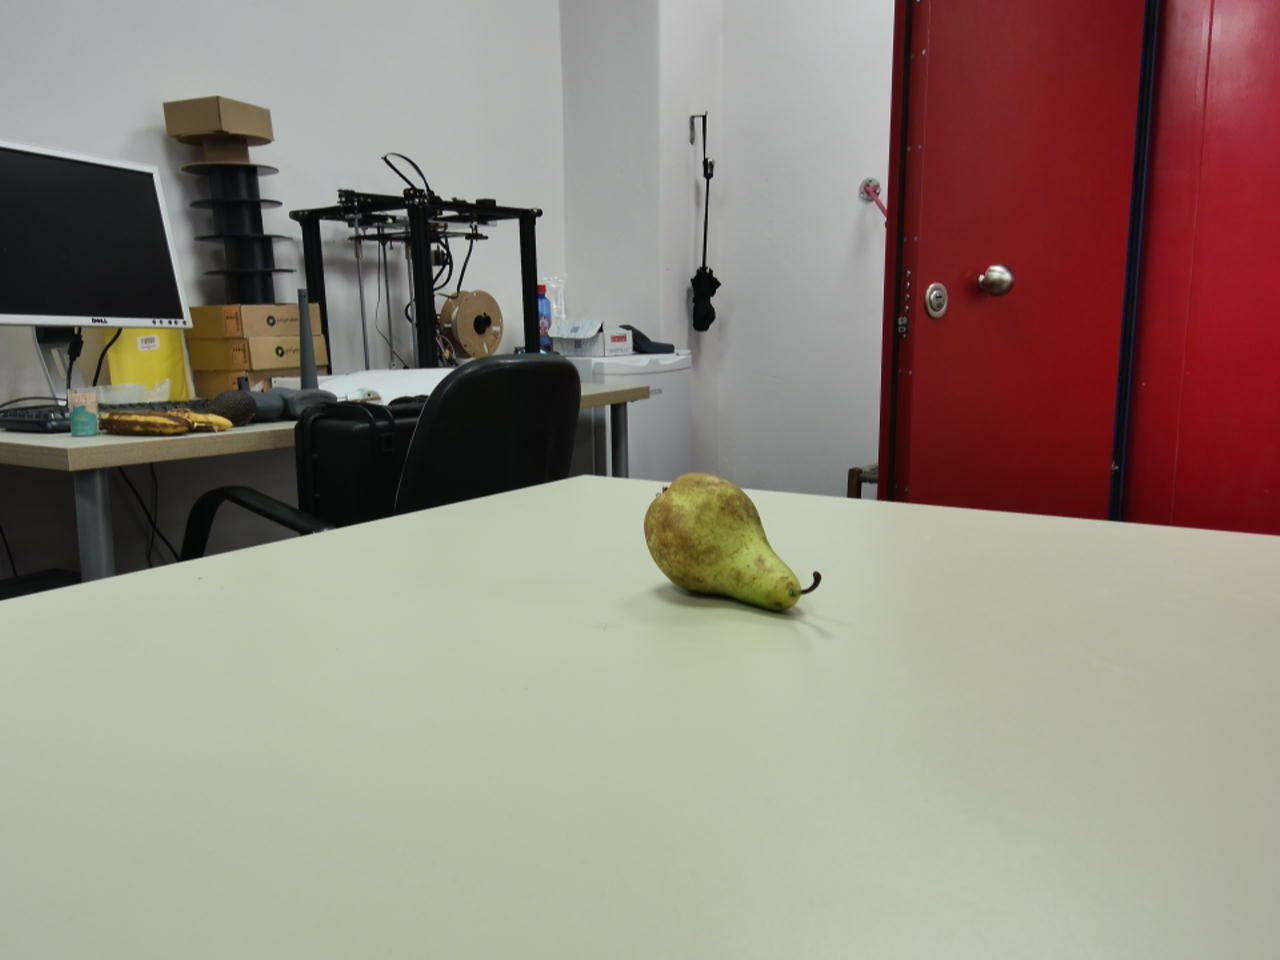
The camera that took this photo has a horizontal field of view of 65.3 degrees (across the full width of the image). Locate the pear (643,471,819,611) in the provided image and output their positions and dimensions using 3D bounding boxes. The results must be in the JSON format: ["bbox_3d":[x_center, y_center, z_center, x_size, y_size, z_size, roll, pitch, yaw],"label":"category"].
[{"bbox_3d":[0.065,0.036,0.606,0.144,0.075,0.071,7,10,42],"label":"pear"}]
